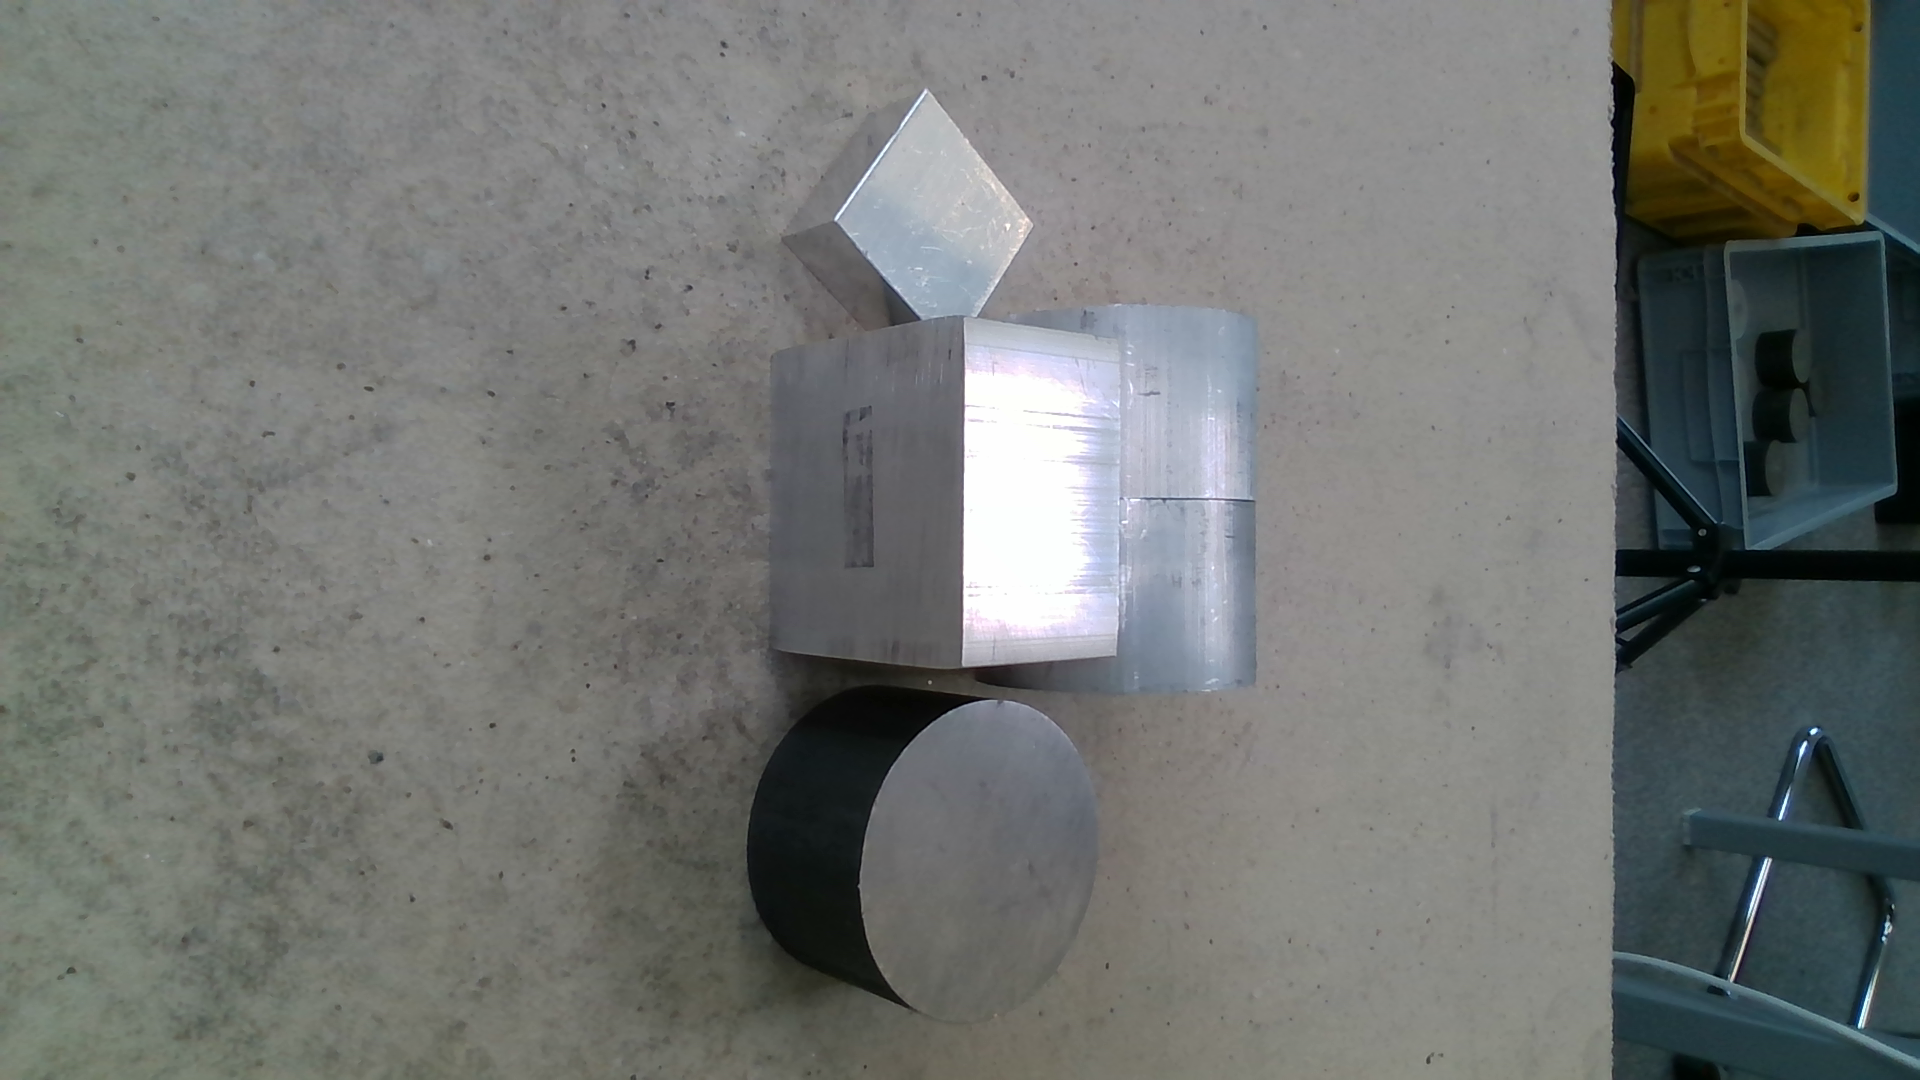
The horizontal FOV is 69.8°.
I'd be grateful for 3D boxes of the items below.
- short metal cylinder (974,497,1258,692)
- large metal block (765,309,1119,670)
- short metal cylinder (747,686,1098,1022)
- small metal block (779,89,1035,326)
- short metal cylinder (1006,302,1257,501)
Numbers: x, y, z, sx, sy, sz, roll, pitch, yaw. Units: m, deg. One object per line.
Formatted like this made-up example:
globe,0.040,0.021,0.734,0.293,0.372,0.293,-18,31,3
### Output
short metal cylinder,0.044,0.014,0.393,0.080,0.080,0.050,1,89,-40
large metal block,-0.006,-0.011,0.351,0.050,0.080,0.080,1,90,-40
short metal cylinder,-0.009,0.081,0.367,0.080,0.050,0.080,0,90,-40
small metal block,-0.013,-0.085,0.381,0.050,0.025,0.050,45,63,-31
short metal cylinder,0.044,-0.036,0.393,0.080,0.080,0.050,1,89,-40
